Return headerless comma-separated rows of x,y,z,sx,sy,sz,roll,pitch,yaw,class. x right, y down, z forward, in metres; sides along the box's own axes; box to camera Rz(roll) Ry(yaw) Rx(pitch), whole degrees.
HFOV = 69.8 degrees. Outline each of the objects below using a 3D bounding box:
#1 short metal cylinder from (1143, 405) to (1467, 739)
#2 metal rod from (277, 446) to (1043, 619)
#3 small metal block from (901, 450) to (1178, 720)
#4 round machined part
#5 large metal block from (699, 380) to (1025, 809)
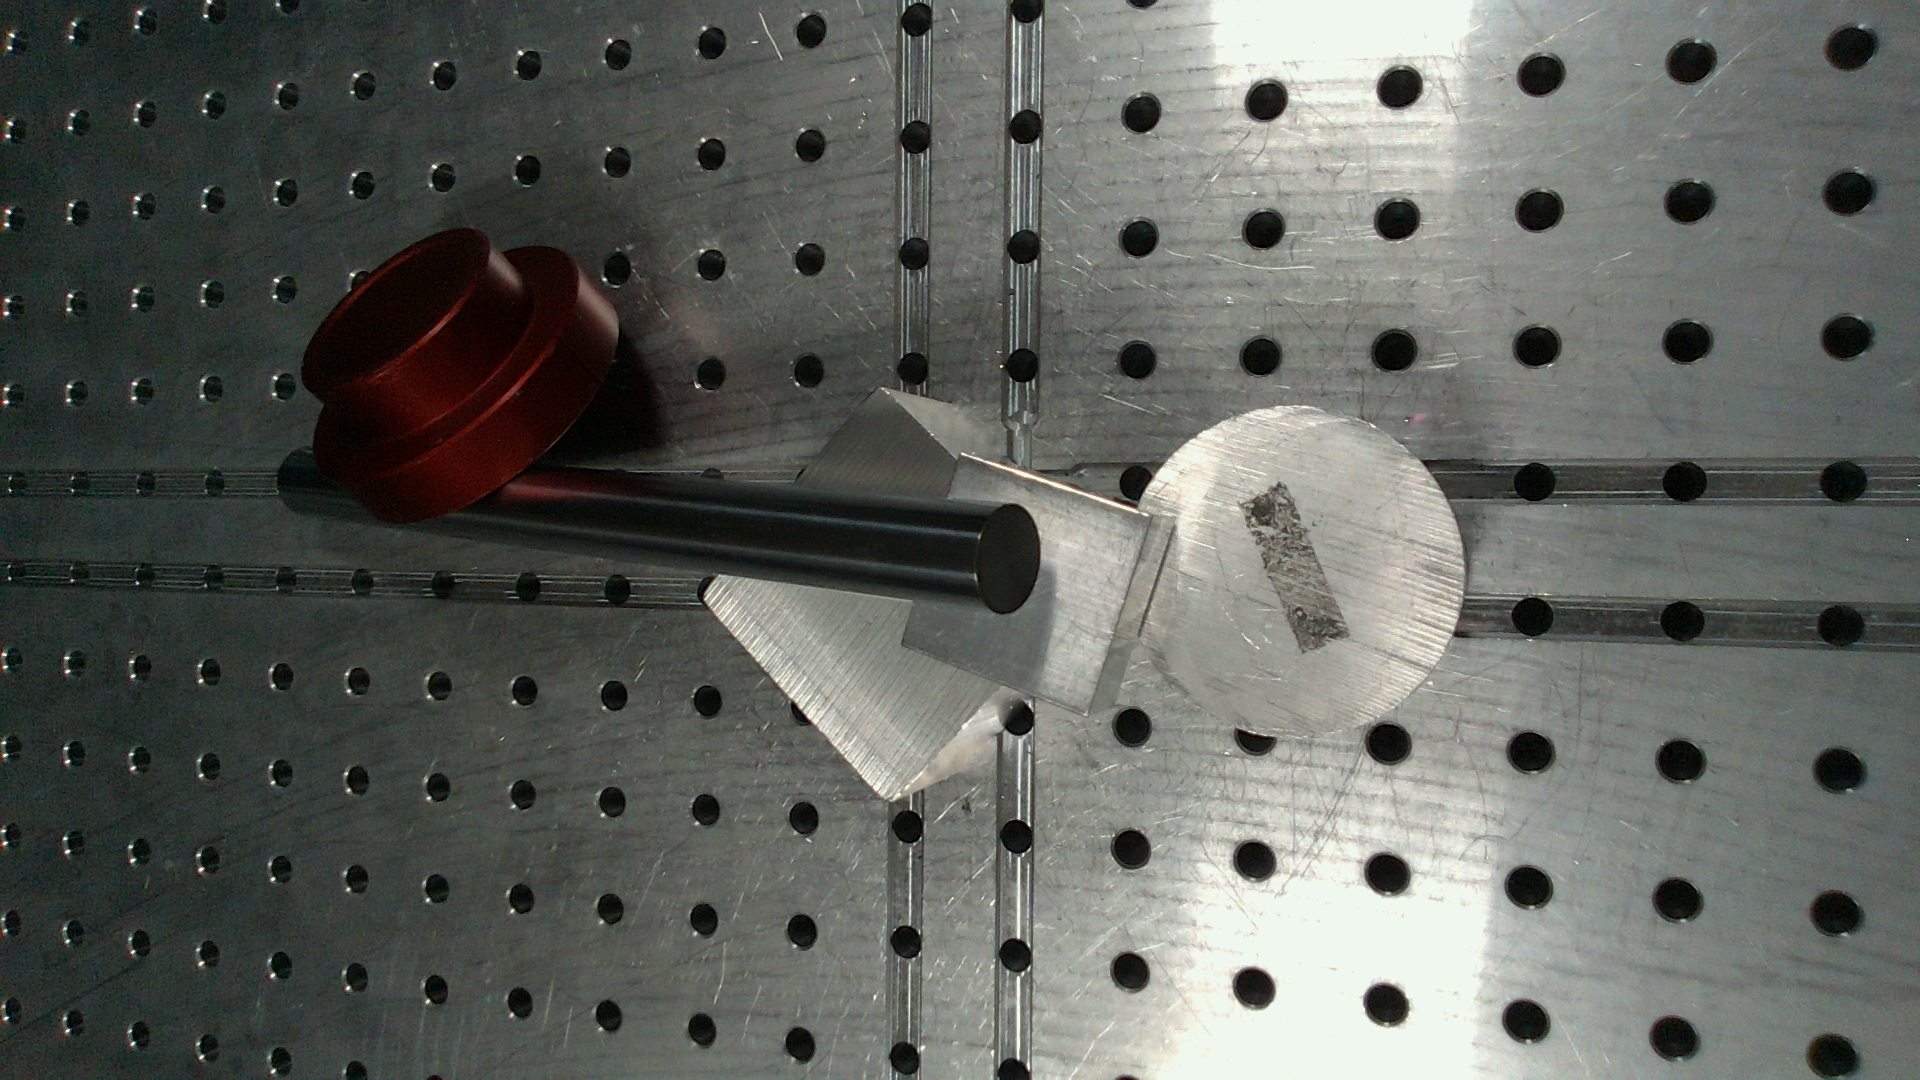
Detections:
0.088,0.008,0.353,0.080,0.050,0.080,0,90,20,short metal cylinder
-0.108,-0.008,0.391,0.299,0.025,0.025,6,92,37,metal rod
0.020,0.010,0.336,0.050,0.025,0.050,20,97,19,small metal block
-0.157,-0.056,0.417,0.098,0.042,0.098,-18,44,19,round machined part
-0.011,0.014,0.387,0.080,0.050,0.080,45,104,14,large metal block
